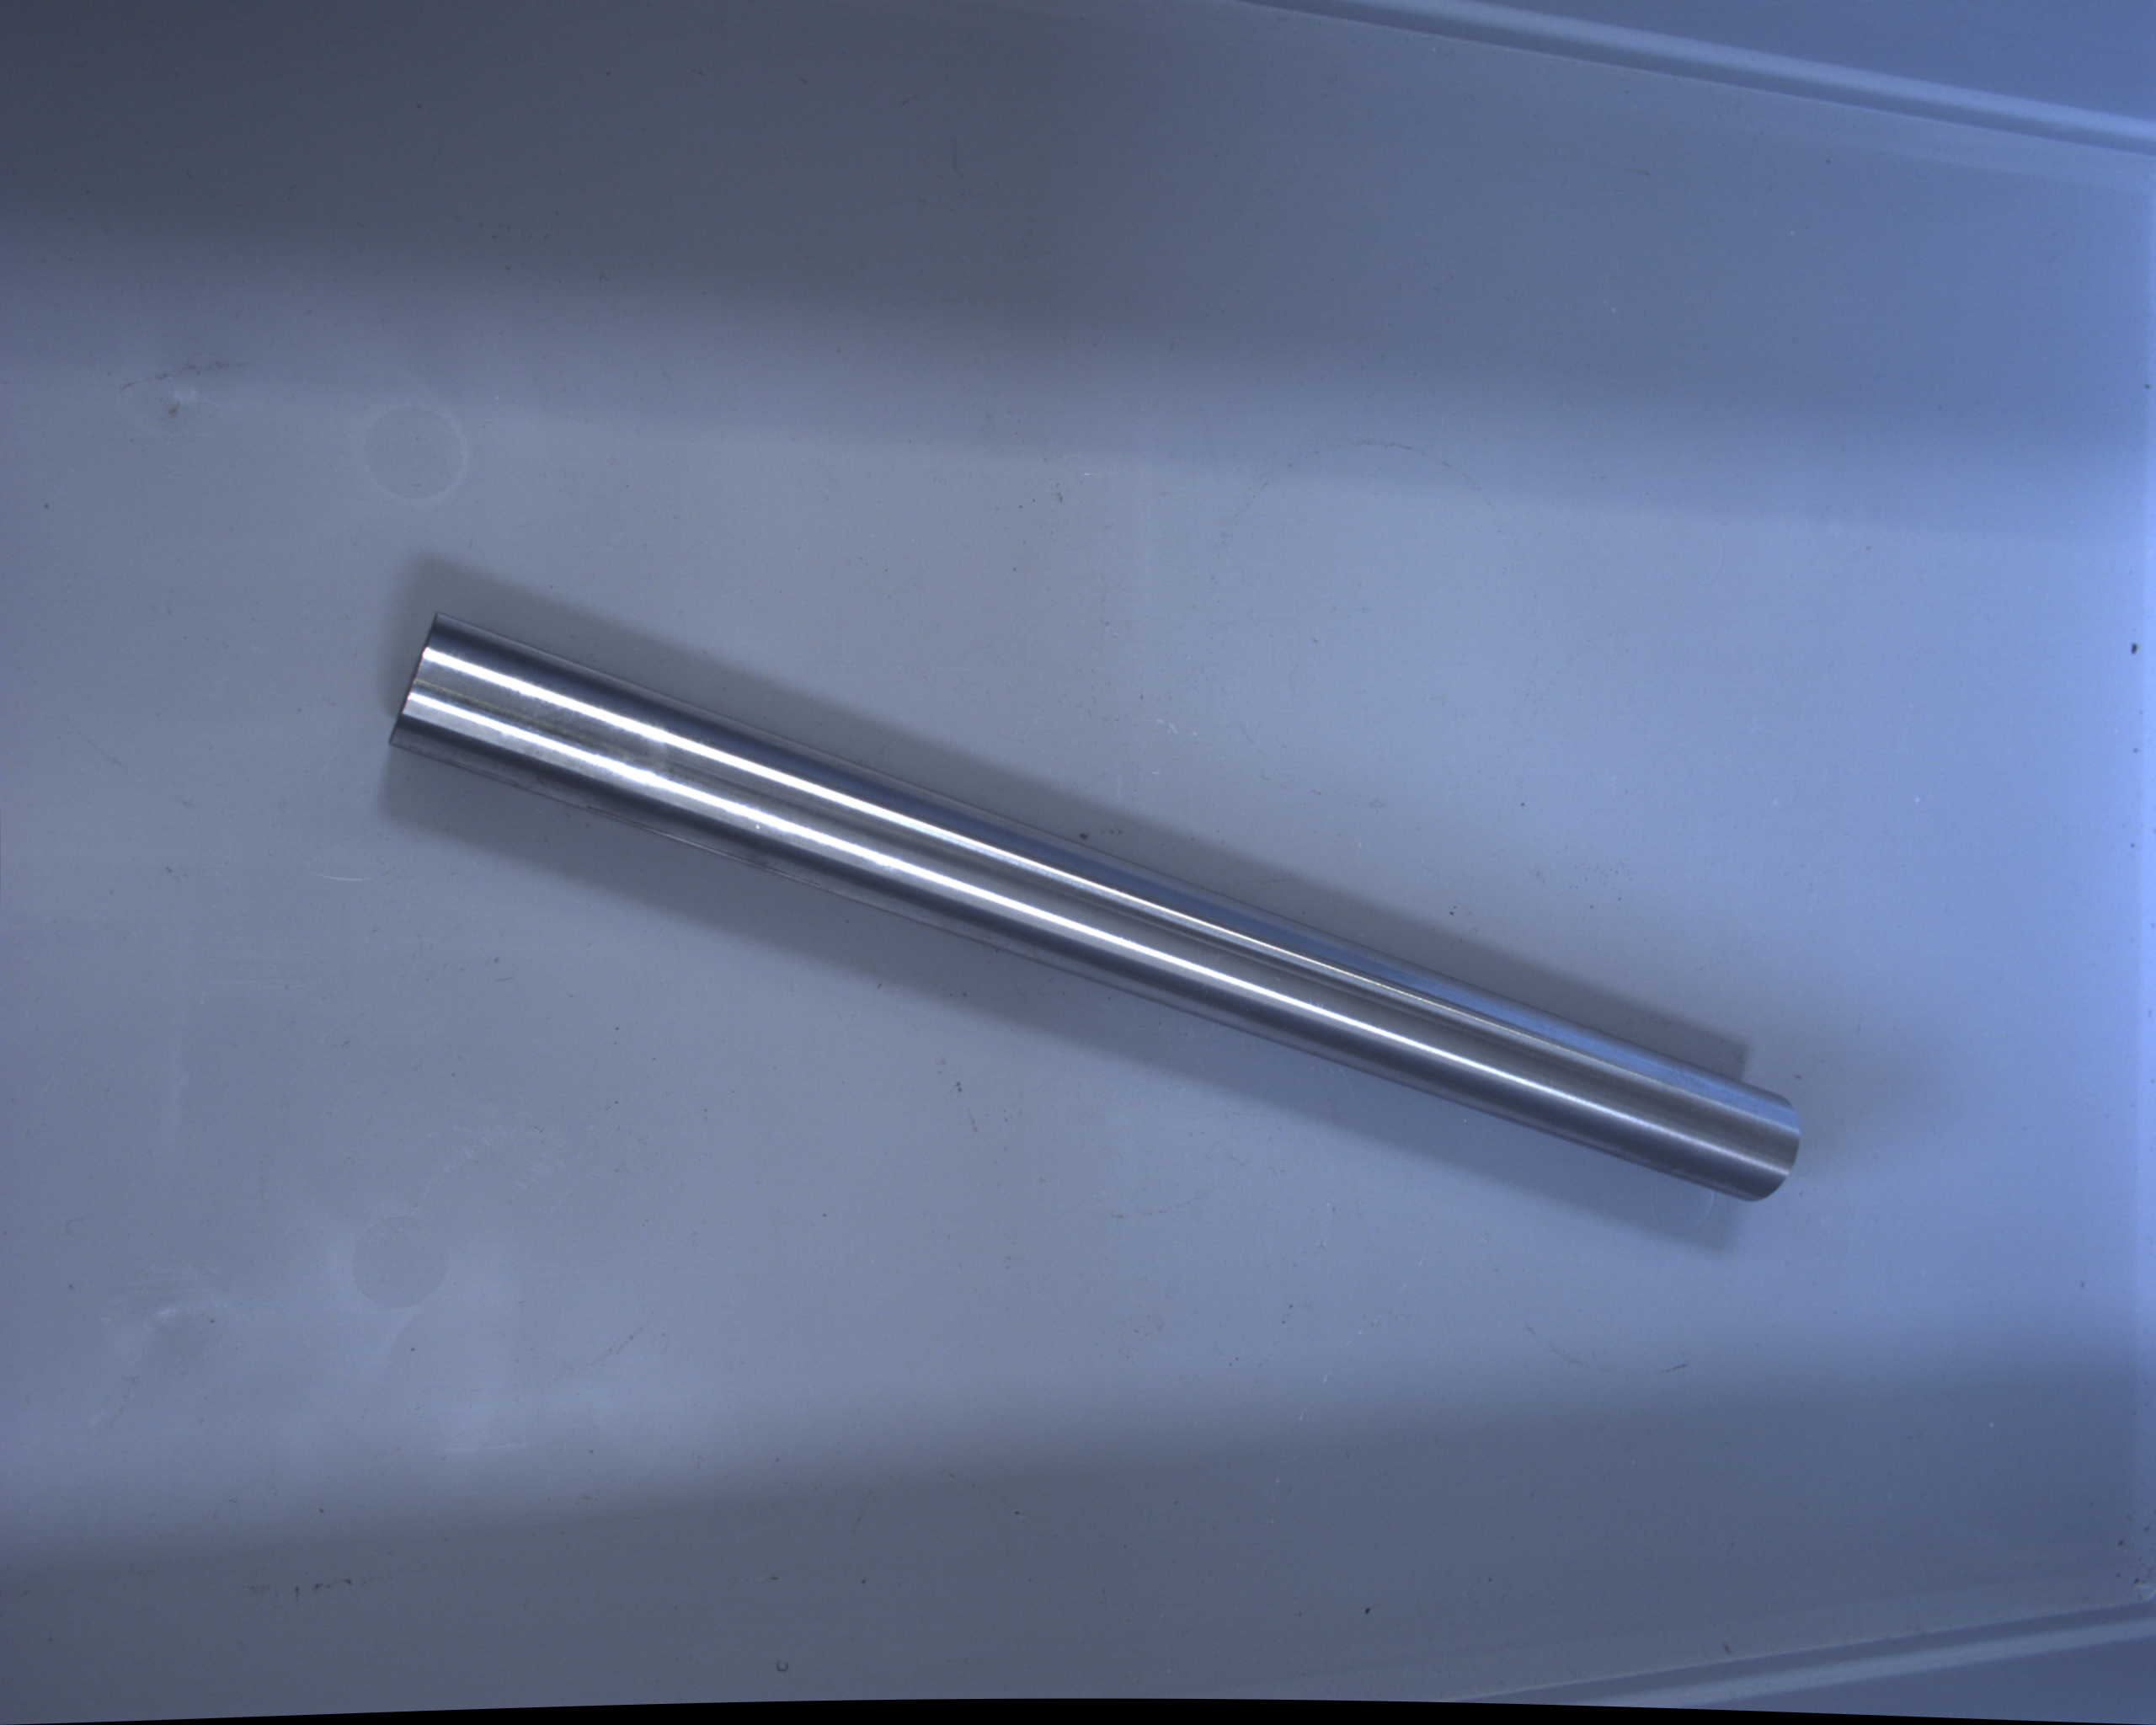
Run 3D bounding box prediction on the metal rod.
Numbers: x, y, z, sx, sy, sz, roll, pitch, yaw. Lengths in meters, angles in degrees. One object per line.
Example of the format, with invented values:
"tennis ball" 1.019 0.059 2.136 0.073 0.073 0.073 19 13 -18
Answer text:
"metal rod" 0.017 0.016 0.415 0.302 0.025 0.025 20 84 -19
